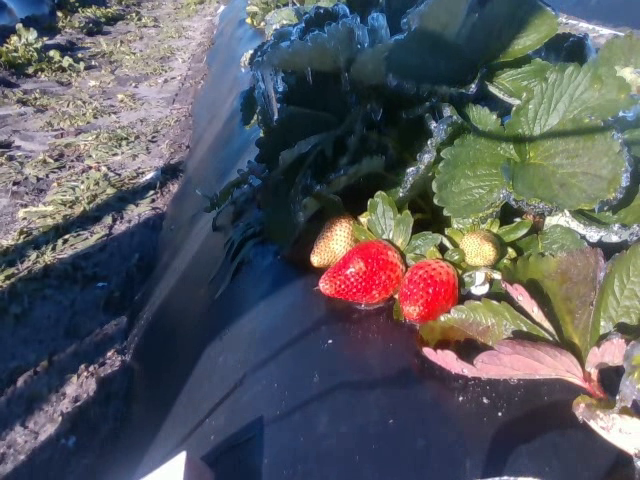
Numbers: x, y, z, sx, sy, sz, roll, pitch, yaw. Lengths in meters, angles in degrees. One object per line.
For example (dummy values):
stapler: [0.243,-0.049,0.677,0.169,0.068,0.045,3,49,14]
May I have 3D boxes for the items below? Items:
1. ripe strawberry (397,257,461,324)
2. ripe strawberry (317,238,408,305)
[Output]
ripe strawberry: [0.054,0.027,0.299,0.036,0.030,0.041,-23,27,36]
ripe strawberry: [0.019,0.021,0.318,0.051,0.040,0.036,-14,9,-34]
